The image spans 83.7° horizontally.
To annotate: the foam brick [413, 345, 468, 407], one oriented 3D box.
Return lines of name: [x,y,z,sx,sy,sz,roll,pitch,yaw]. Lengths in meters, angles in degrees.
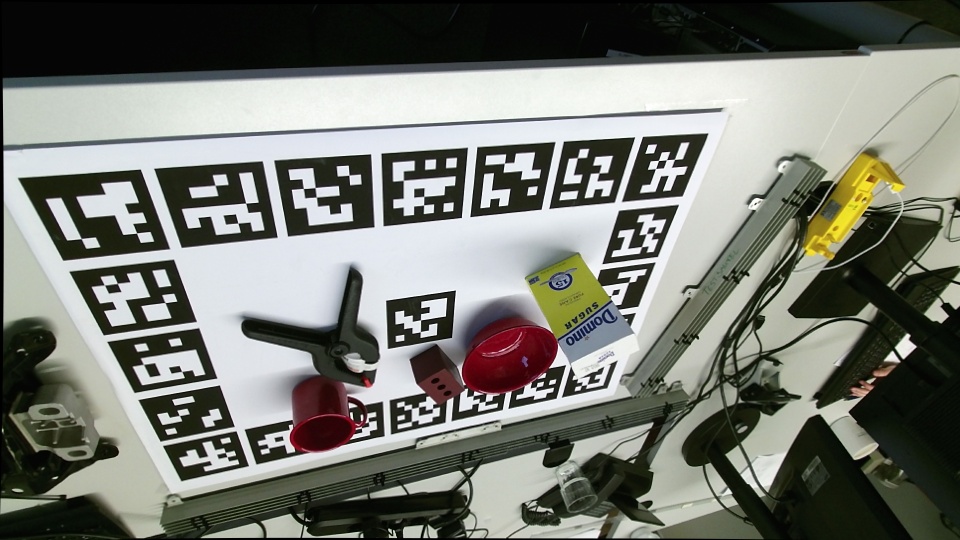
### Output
foam brick: [-0.062,0.168,0.853,0.053,0.051,0.078,-30,131,1]

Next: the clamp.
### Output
clamp: [-0.185,0.108,0.750,0.166,0.036,0.203,-27,131,-3]

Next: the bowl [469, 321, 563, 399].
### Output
bowl: [0.053,0.135,0.864,0.162,0.055,0.162,-11,130,-13]

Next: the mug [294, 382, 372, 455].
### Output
mug: [-0.218,0.225,0.804,0.118,0.081,0.093,17,119,-28]

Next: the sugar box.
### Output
sugar box: [0.151,0.054,0.760,0.093,0.175,0.045,-27,130,1]
